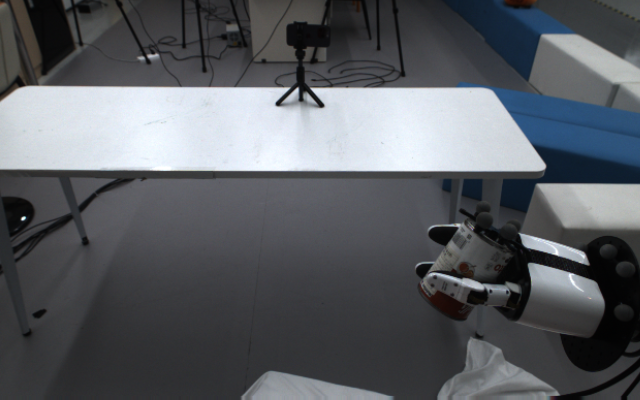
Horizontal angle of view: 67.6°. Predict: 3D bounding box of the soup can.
[{"bbox_3d":[0.172,0.080,0.564,0.067,0.101,0.067,27,18,-9],"label":"soup can"}]
